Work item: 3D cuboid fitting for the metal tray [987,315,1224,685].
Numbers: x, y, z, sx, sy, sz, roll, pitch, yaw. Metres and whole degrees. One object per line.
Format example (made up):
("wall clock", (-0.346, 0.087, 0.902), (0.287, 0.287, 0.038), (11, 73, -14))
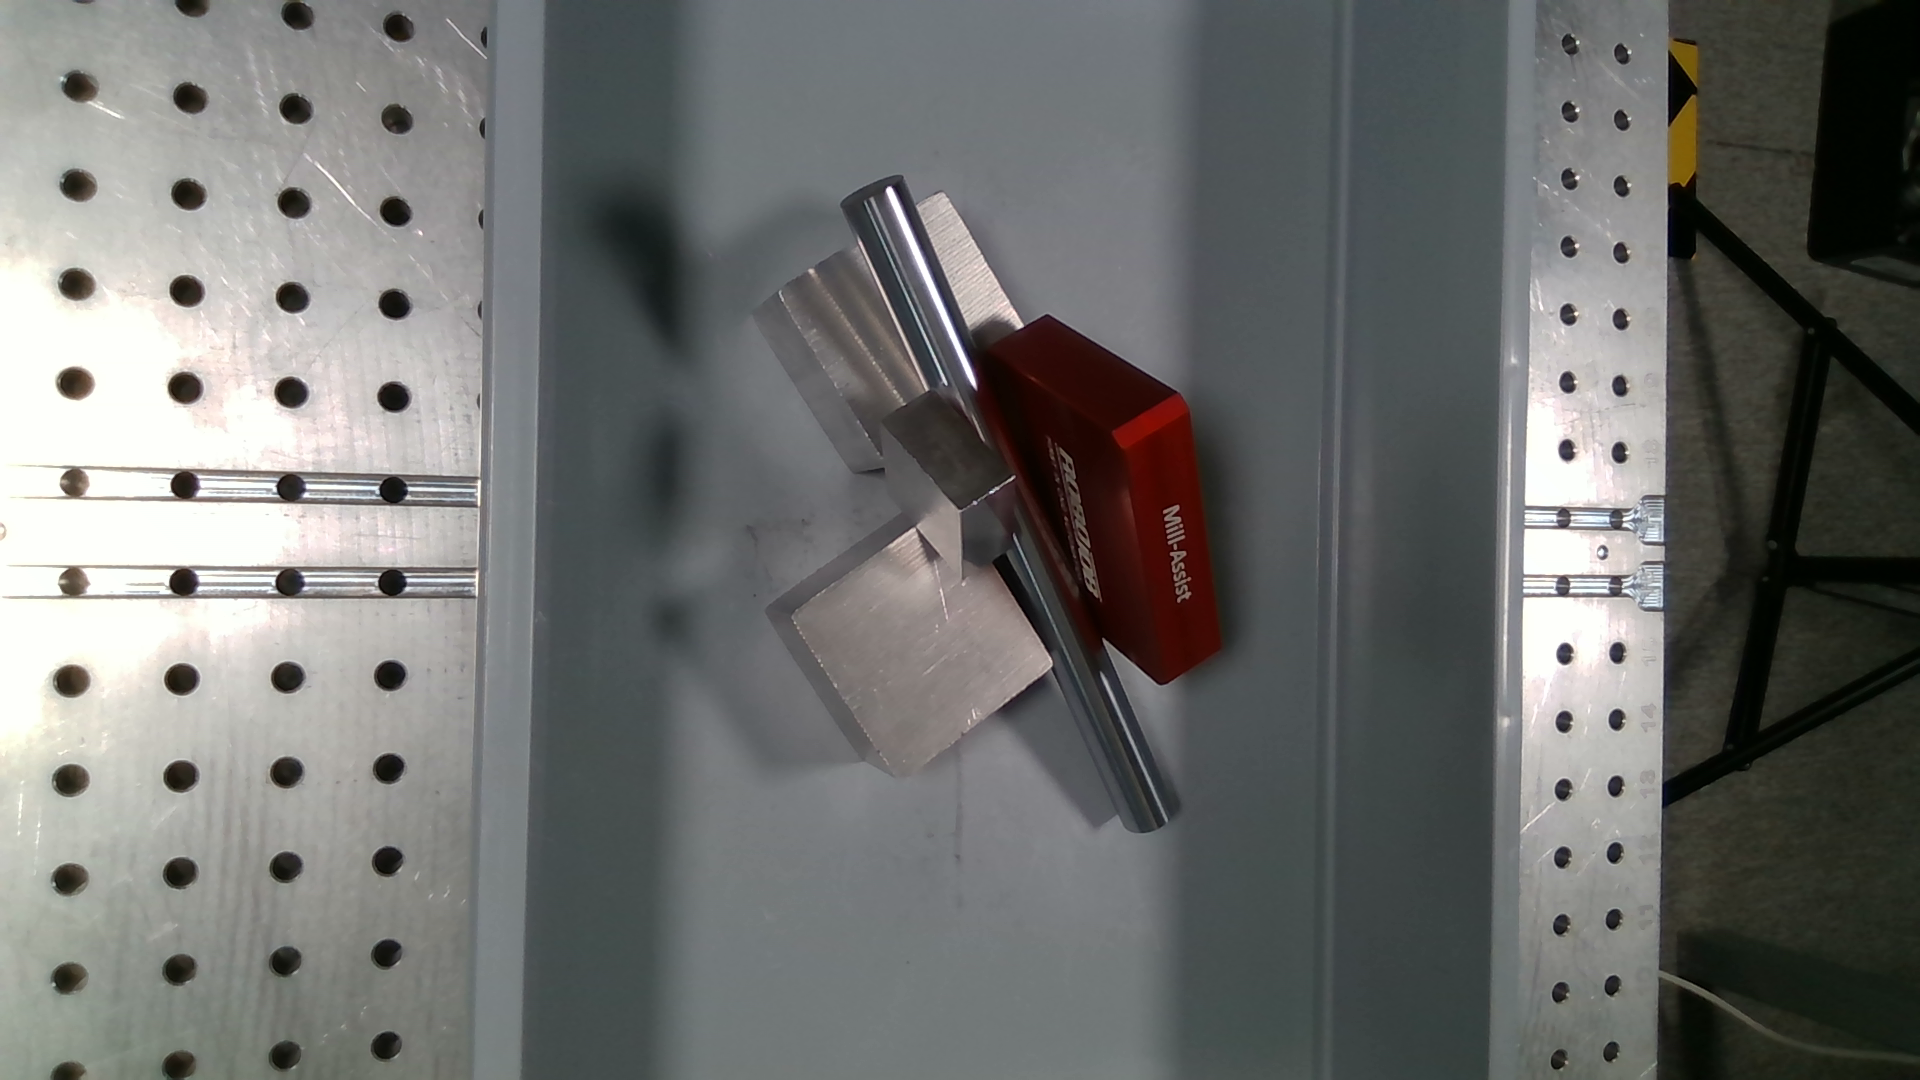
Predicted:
("metal tray", (0.059, -0.015, 0.543), (0.030, 0.090, 0.130), (-31, 132, -17))

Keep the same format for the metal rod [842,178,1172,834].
("metal rod", (0.026, -0.001, 0.555), (0.025, 0.025, 0.301), (-33, 116, -17))

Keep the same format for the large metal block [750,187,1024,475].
("large metal block", (-0.026, -0.083, 0.559), (0.080, 0.050, 0.080), (-35, 102, -17))

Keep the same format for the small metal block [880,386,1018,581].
("small metal block", (-0.004, -0.021, 0.518), (0.025, 0.050, 0.050), (-33, 64, -18))

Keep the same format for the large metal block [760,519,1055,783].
("large metal block", (-0.022, 0.039, 0.564), (0.080, 0.050, 0.080), (-35, 102, -17))
